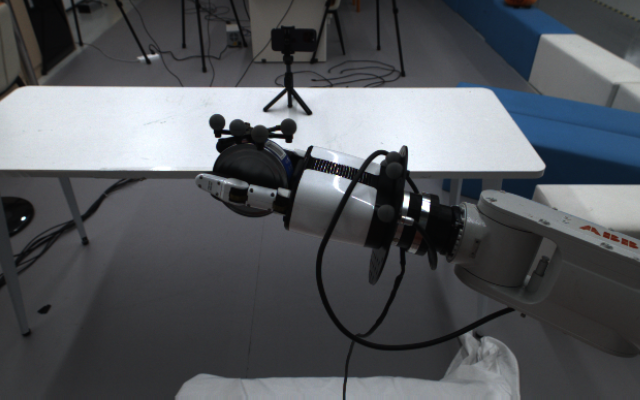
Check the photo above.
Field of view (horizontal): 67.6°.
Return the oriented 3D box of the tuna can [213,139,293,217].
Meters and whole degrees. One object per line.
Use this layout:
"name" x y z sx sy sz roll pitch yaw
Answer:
"tuna can" -0.071 -0.027 0.538 0.085 0.085 0.034 9 23 9
